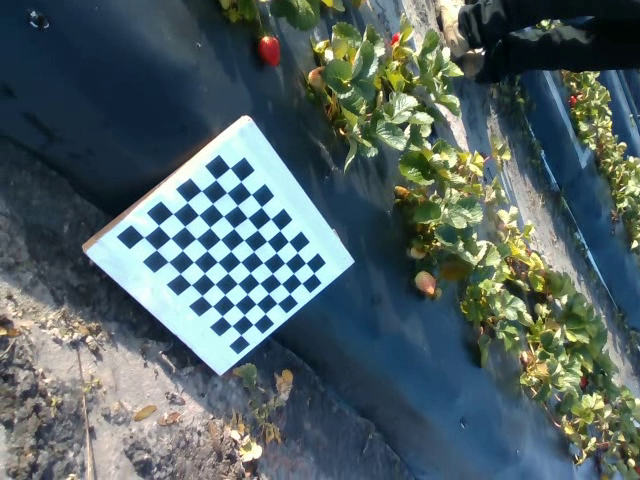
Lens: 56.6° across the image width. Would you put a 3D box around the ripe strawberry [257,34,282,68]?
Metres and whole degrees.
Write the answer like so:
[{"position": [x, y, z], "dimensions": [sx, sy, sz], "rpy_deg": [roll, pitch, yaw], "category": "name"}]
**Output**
[{"position": [-0.062, -0.238, 0.745], "dimensions": [0.030, 0.045, 0.033], "rpy_deg": [-13, -5, -17], "category": "ripe strawberry"}]
